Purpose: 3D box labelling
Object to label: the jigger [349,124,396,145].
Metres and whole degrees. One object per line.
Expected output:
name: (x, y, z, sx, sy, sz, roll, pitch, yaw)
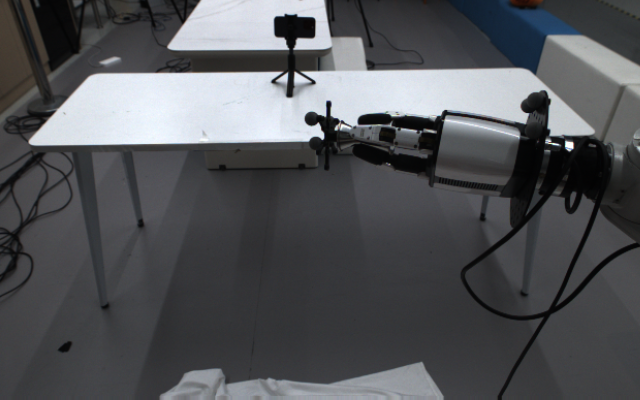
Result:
jigger: (0.066, -0.084, 0.614, 0.071, 0.043, 0.043, 3, 34, 17)
